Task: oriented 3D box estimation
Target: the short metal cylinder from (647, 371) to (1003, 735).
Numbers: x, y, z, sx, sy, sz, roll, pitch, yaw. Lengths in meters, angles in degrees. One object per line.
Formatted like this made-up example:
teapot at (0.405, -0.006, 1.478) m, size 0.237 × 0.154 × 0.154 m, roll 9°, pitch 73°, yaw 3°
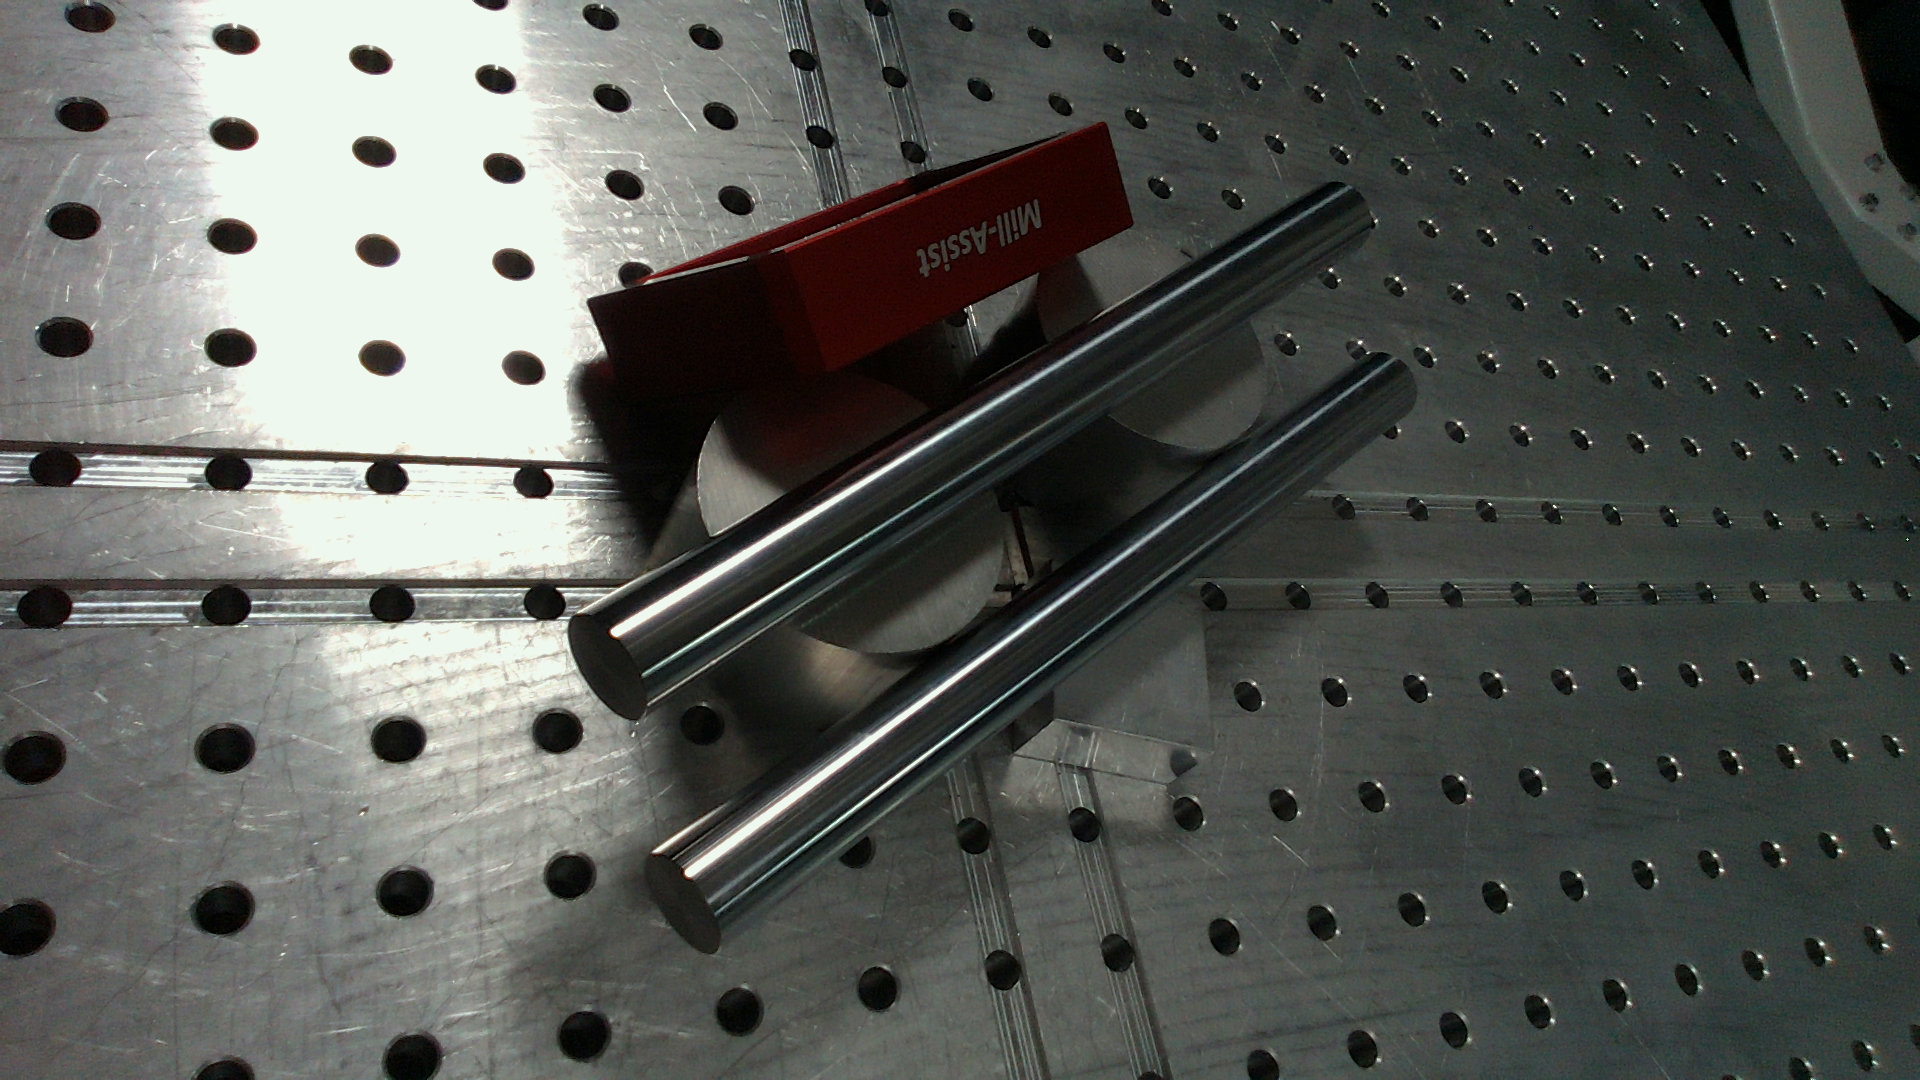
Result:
short metal cylinder at (-0.036, 0.004, 0.355) m, size 0.080 × 0.050 × 0.080 m, roll 14°, pitch 56°, yaw -21°

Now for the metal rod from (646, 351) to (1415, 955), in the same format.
metal rod at (0.043, 0.011, 0.376) m, size 0.301 × 0.025 × 0.025 m, roll -32°, pitch 80°, yaw -38°

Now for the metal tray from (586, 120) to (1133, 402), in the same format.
metal tray at (-0.025, -0.078, 0.383) m, size 0.130 × 0.090 × 0.030 m, roll -33°, pitch 112°, yaw -38°

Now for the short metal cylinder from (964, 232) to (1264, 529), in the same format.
short metal cylinder at (0.048, -0.050, 0.434) m, size 0.080 × 0.050 × 0.080 m, roll 14°, pitch 56°, yaw -21°

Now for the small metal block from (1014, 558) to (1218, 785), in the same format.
small metal block at (0.043, 0.038, 0.391) m, size 0.050 × 0.025 × 0.050 m, roll 14°, pitch 56°, yaw -20°

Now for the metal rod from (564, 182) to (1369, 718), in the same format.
metal rod at (0.027, -0.041, 0.367) m, size 0.301 × 0.025 × 0.025 m, roll -34°, pitch 81°, yaw -38°
